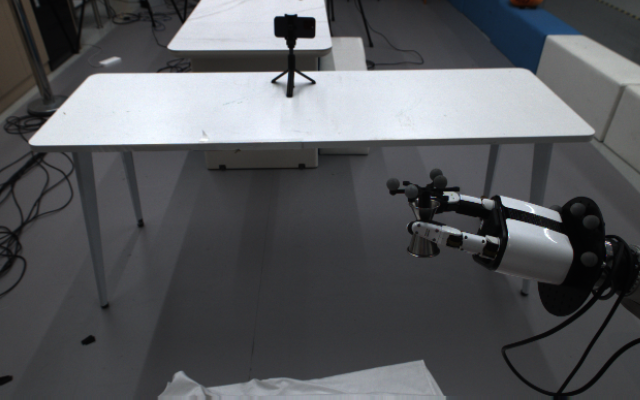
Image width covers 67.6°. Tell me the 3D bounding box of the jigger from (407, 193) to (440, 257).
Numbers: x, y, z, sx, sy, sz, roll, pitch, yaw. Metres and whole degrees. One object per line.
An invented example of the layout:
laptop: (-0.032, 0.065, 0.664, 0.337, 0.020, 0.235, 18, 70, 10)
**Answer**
jigger: (0.137, 0.035, 0.638, 0.043, 0.071, 0.043, -2, 19, 1)
